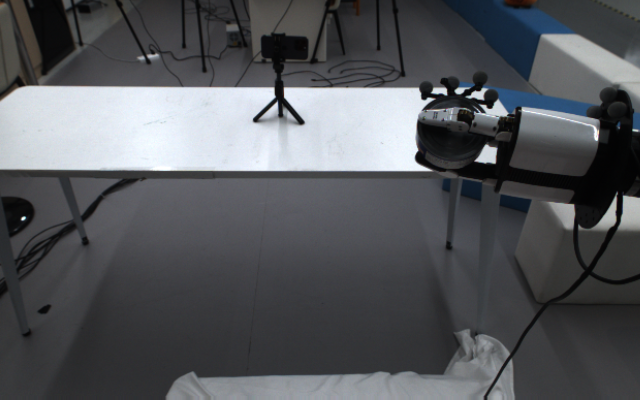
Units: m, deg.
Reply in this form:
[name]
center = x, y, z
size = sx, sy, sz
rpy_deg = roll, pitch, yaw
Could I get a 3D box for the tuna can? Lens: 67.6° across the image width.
[tuna can]
center = 0.161, -0.086, 0.592
size = 0.085, 0.034, 0.085
rpy_deg = -2, 70, 7
